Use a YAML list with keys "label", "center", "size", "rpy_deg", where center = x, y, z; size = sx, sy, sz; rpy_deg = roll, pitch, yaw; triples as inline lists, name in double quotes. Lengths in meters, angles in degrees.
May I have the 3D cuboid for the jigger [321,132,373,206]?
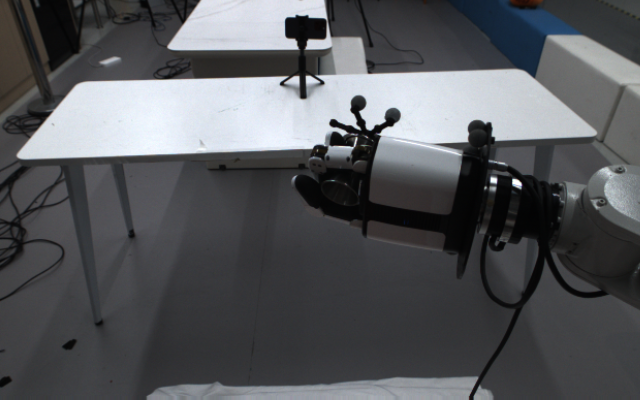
- label: "jigger"
  center: [0.035, -0.035, 0.521]
  size: [0.043, 0.043, 0.071]
  rpy_deg: [15, 58, 18]
